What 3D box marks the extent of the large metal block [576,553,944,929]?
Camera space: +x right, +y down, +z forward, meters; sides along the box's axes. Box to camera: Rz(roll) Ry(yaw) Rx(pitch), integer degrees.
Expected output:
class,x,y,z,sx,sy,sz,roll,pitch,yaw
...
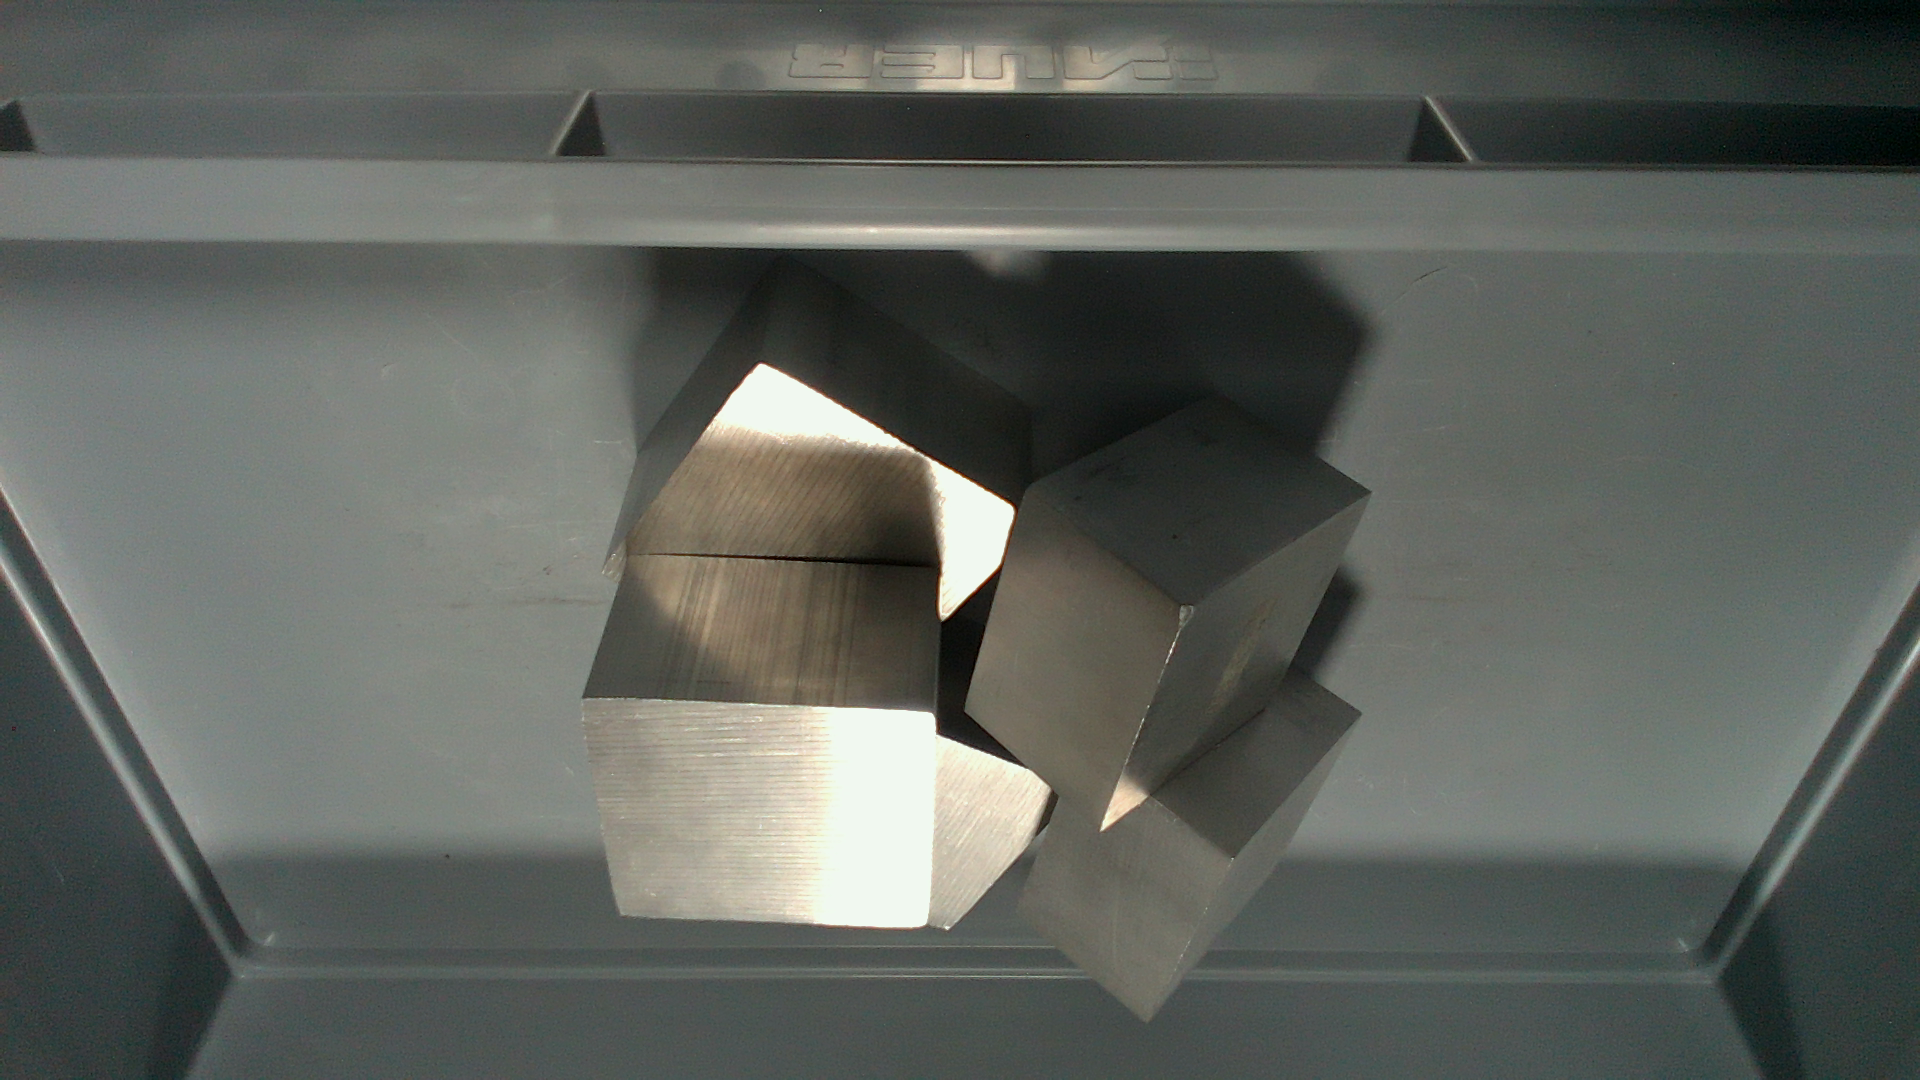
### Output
class,x,y,z,sx,sy,sz,roll,pitch,yaw
large metal block,-0.046,0.052,0.349,0.080,0.050,0.080,3,129,-1

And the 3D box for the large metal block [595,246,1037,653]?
class,x,y,z,sx,sy,sz,roll,pitch,yaw
large metal block,-0.036,-0.015,0.361,0.080,0.050,0.080,29,124,-22

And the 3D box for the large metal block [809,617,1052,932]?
class,x,y,z,sx,sy,sz,roll,pitch,yaw
large metal block,-0.019,0.068,0.427,0.080,0.050,0.080,23,126,-19

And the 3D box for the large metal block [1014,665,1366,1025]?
class,x,y,z,sx,sy,sz,roll,pitch,yaw
large metal block,0.068,0.083,0.415,0.050,0.080,0.080,35,133,23

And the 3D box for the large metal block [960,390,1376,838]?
class,x,y,z,sx,sy,sz,roll,pitch,yaw
large metal block,0.053,0.018,0.360,0.080,0.050,0.080,-27,144,-39
